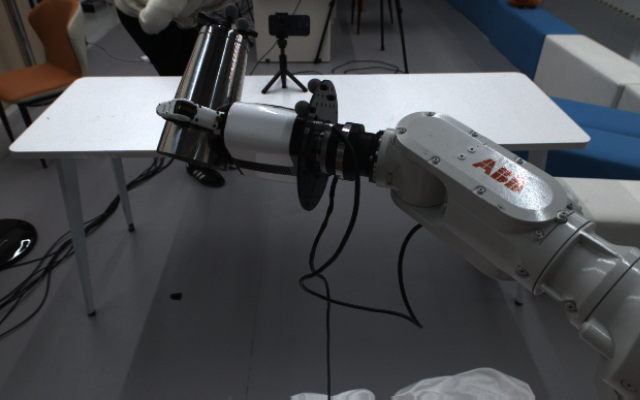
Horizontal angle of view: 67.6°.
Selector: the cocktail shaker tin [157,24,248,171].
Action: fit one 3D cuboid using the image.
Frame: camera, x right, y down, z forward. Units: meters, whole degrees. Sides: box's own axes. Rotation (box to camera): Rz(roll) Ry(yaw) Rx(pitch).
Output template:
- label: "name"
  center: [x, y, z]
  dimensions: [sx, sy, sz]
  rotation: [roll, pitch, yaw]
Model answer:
- label: "cocktail shaker tin"
  center: [-0.145, -0.131, 0.625]
  dimensions: [0.093, 0.170, 0.093]
  rotation: [14, -4, 1]
